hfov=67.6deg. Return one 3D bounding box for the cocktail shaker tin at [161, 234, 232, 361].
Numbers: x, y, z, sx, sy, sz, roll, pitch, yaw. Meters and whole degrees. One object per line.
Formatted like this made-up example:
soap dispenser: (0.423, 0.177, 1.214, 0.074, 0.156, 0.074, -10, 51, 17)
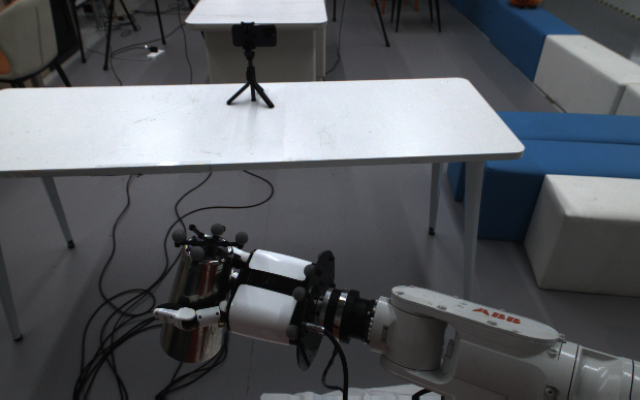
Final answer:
cocktail shaker tin: (-0.166, 0.134, 0.677, 0.093, 0.170, 0.093, 12, 29, -7)
